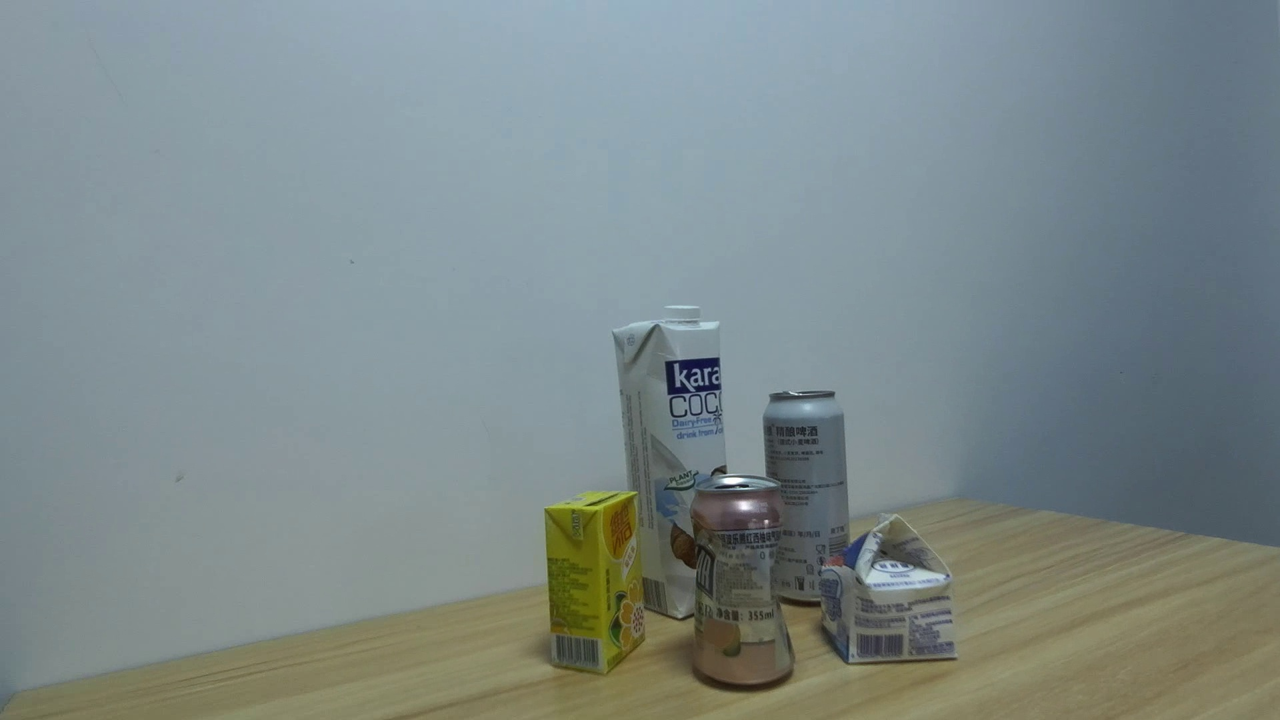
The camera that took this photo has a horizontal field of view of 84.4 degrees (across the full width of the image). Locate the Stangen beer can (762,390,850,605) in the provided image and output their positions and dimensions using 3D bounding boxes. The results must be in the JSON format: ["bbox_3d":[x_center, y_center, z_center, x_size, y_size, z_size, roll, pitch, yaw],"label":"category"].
[{"bbox_3d":[0.137,0.112,0.587,0.067,0.171,0.067,-2,-1,0],"label":"Stangen beer can"}]

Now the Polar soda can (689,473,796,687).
[{"bbox_3d":[0.066,0.140,0.454,0.067,0.121,0.074,-3,0,36],"label":"Polar soda can"}]

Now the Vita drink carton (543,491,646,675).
[{"bbox_3d":[-0.030,0.150,0.492,0.043,0.109,0.067,-3,0,23],"label":"Vita drink carton"}]

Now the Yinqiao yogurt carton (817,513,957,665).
[{"bbox_3d":[0.166,0.147,0.481,0.077,0.093,0.083,-2,-2,1],"label":"Yinqiao yogurt carton"}]
